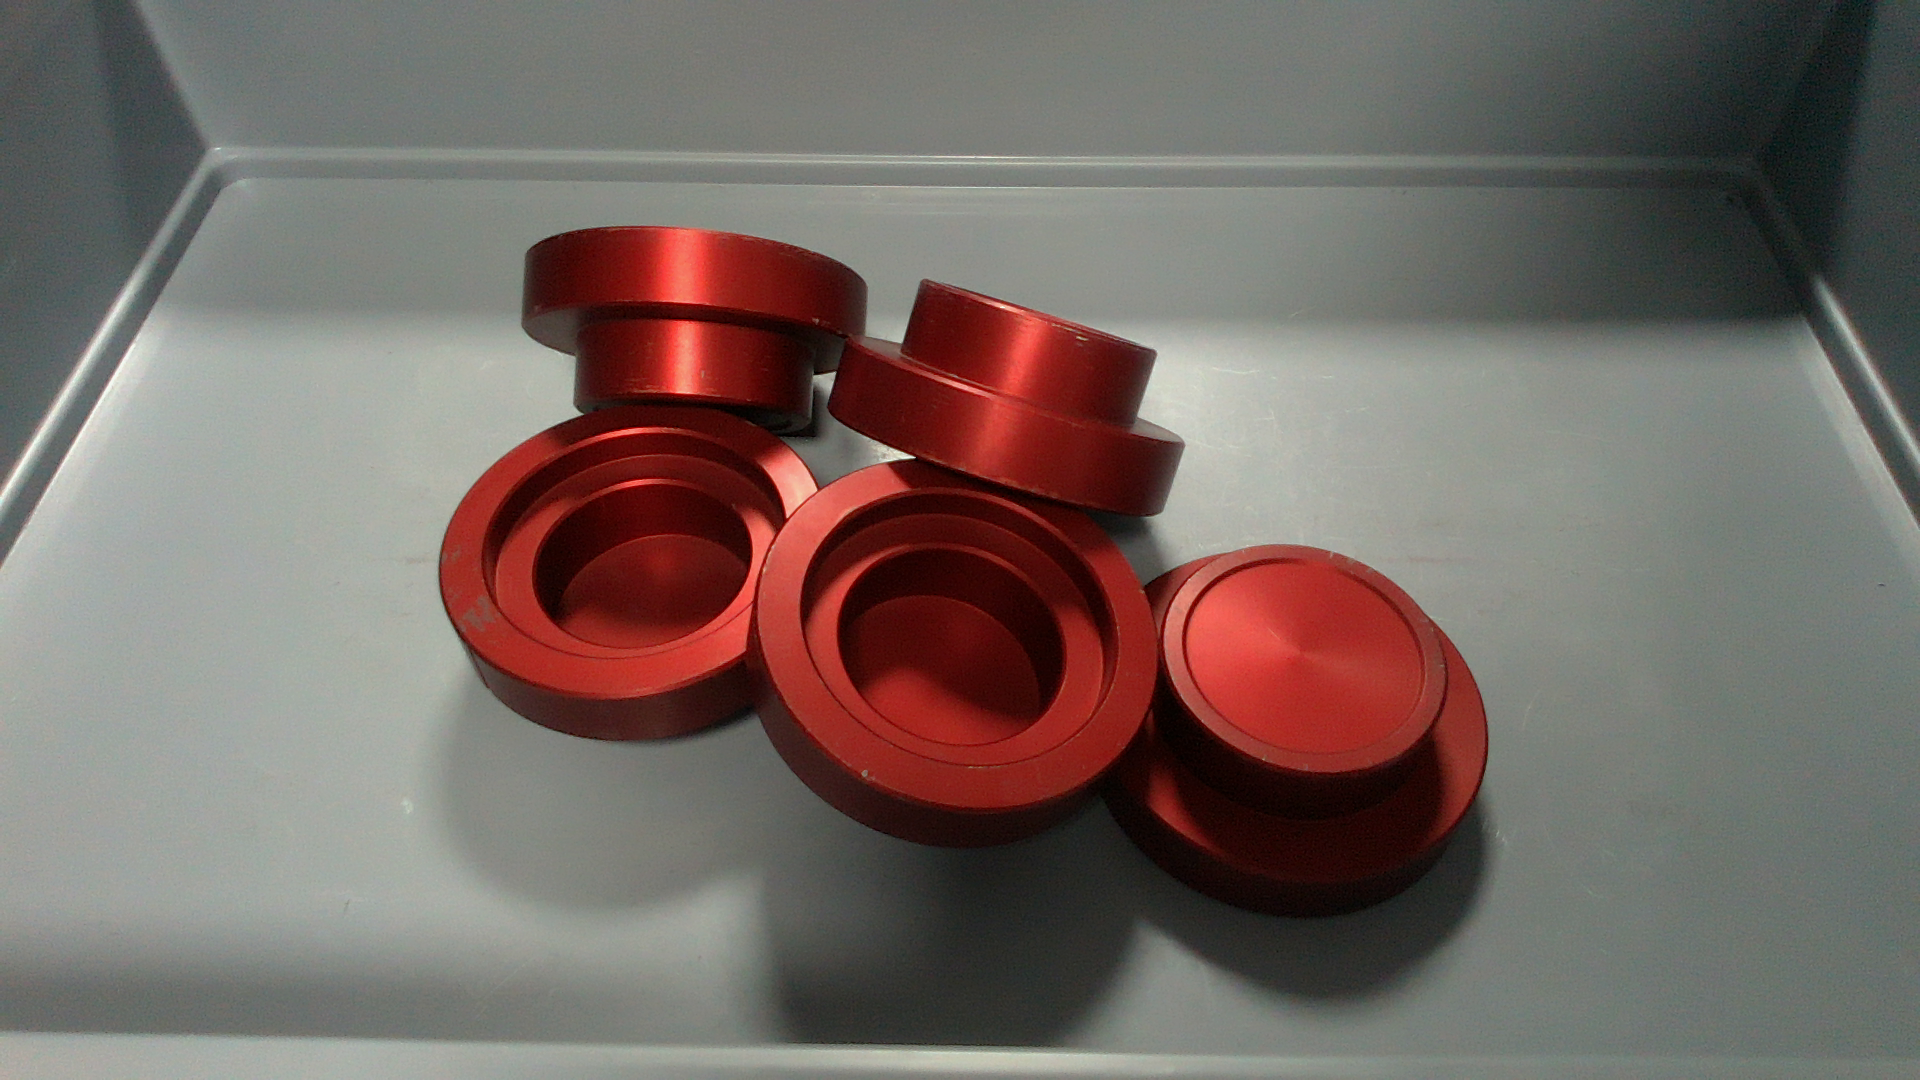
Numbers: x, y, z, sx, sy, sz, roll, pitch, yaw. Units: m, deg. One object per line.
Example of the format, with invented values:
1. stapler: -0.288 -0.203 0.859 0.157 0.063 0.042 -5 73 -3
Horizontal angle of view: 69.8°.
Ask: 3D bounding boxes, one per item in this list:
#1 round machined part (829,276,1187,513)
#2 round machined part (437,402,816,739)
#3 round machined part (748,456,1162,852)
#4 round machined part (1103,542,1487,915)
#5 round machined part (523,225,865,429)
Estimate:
1. round machined part: 0.016 -0.043 0.379 0.098 0.042 0.098 16 10 -3
2. round machined part: -0.084 0.012 0.368 0.098 0.042 0.098 0 50 0
3. round machined part: -0.004 0.030 0.338 0.098 0.042 0.098 7 55 -11
4. round machined part: 0.082 0.039 0.345 0.098 0.042 0.098 0 50 0
5. round machined part: -0.078 -0.057 0.404 0.098 0.098 0.042 2 85 2
